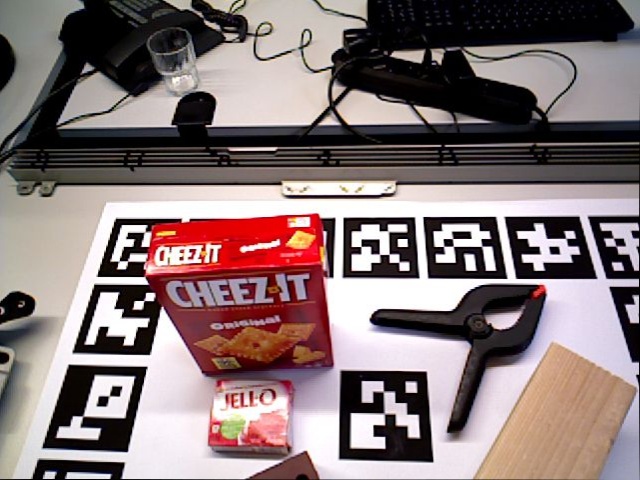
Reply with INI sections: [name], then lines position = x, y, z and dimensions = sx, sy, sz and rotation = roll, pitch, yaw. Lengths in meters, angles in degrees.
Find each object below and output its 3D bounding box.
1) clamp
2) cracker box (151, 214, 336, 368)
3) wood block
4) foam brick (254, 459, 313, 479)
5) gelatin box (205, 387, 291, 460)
[clamp]
position = 0.179, 0.110, 0.620
dimensions = 0.200, 0.037, 0.164
rotation = -27, 59, -11
[cracker box]
position = -0.065, 0.060, 0.563
dimensions = 0.163, 0.218, 0.071
rotation = -2, 54, 1
[wood block]
position = 0.210, 0.220, 0.517
dimensions = 0.090, 0.092, 0.202
rotation = 30, 61, 25
[foam brick]
position = -0.040, 0.259, 0.534
dimensions = 0.077, 0.052, 0.052
rotation = -21, 59, -9
[gelatin box]
position = -0.077, 0.200, 0.593
dimensions = 0.089, 0.030, 0.072
rotation = -1, 58, 5
